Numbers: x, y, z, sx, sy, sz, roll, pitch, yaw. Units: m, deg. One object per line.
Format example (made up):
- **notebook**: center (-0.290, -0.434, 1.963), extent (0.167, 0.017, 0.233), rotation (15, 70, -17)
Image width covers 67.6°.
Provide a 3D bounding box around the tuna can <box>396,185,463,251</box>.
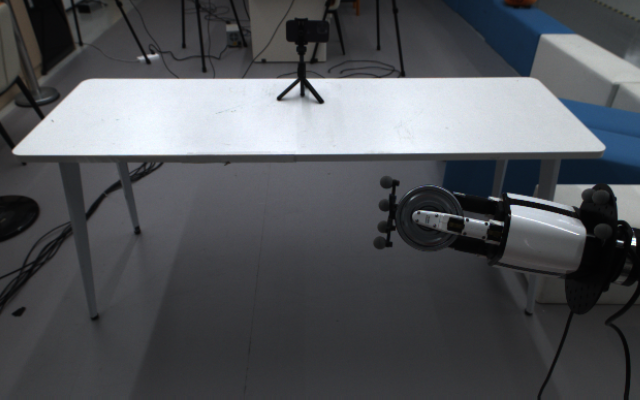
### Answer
- **tuna can**: center (0.141, 0.019, 0.622), extent (0.085, 0.085, 0.034), rotation (10, 2, 11)
